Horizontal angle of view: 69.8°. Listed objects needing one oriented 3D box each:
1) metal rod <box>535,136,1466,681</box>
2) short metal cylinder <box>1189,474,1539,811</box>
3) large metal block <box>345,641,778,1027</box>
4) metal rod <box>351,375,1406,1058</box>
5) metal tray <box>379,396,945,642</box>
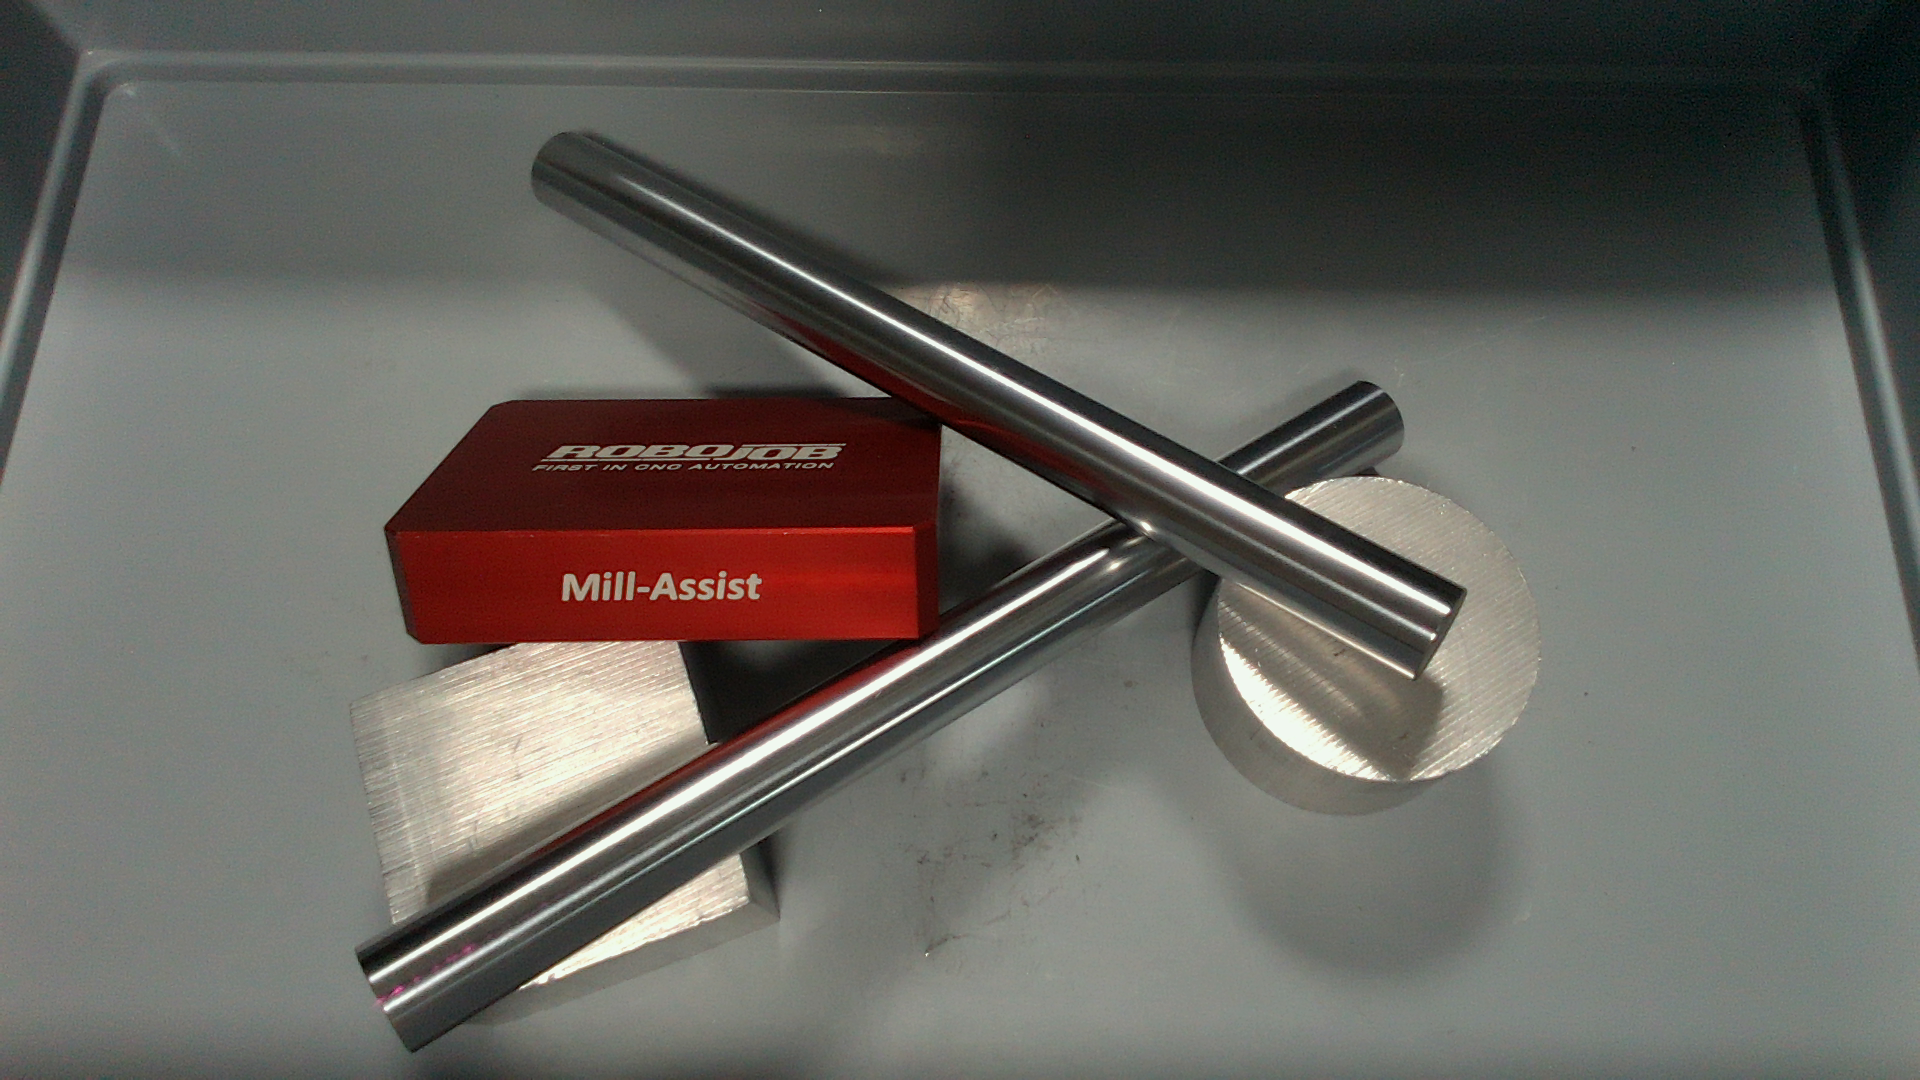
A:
[{"bbox_3d":[-0.007,-0.047,0.380,0.299,0.025,0.025,30,72,23],"label":"metal rod"},{"bbox_3d":[0.105,0.029,0.369,0.080,0.050,0.080,0,70,0],"label":"short metal cylinder"},{"bbox_3d":[-0.099,0.071,0.351,0.080,0.050,0.080,-18,71,-7],"label":"large metal block"},{"bbox_3d":[0.001,0.029,0.344,0.301,0.025,0.025,-29,72,-24],"label":"metal rod"},{"bbox_3d":[-0.070,-0.008,0.364,0.130,0.030,0.090,0,26,1],"label":"metal tray"}]
